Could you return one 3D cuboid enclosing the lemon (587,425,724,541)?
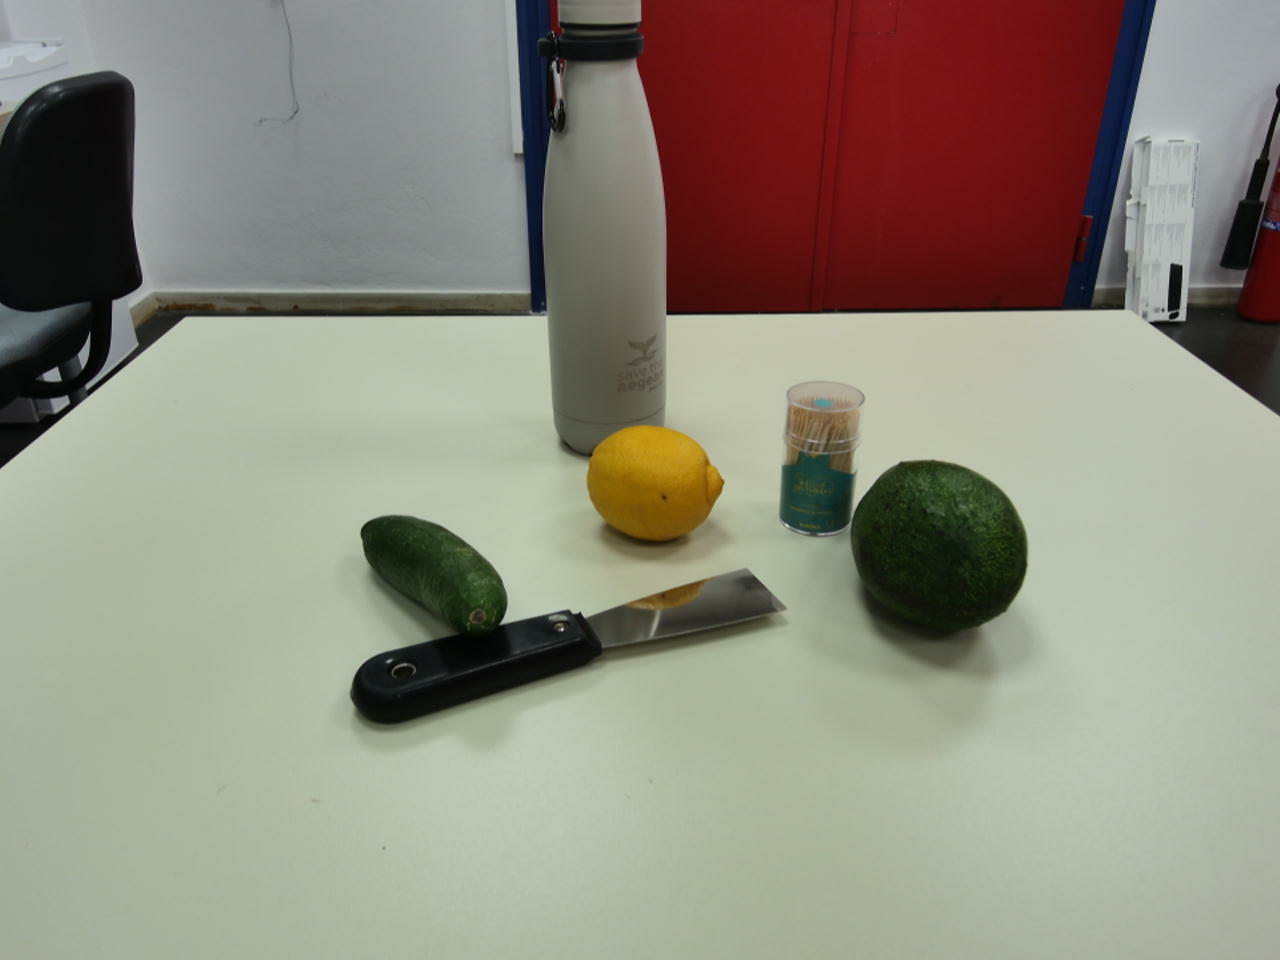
[{"bbox_3d":[0.006,0.002,0.525,0.067,0.059,0.060,19,33,37],"label":"lemon"}]
